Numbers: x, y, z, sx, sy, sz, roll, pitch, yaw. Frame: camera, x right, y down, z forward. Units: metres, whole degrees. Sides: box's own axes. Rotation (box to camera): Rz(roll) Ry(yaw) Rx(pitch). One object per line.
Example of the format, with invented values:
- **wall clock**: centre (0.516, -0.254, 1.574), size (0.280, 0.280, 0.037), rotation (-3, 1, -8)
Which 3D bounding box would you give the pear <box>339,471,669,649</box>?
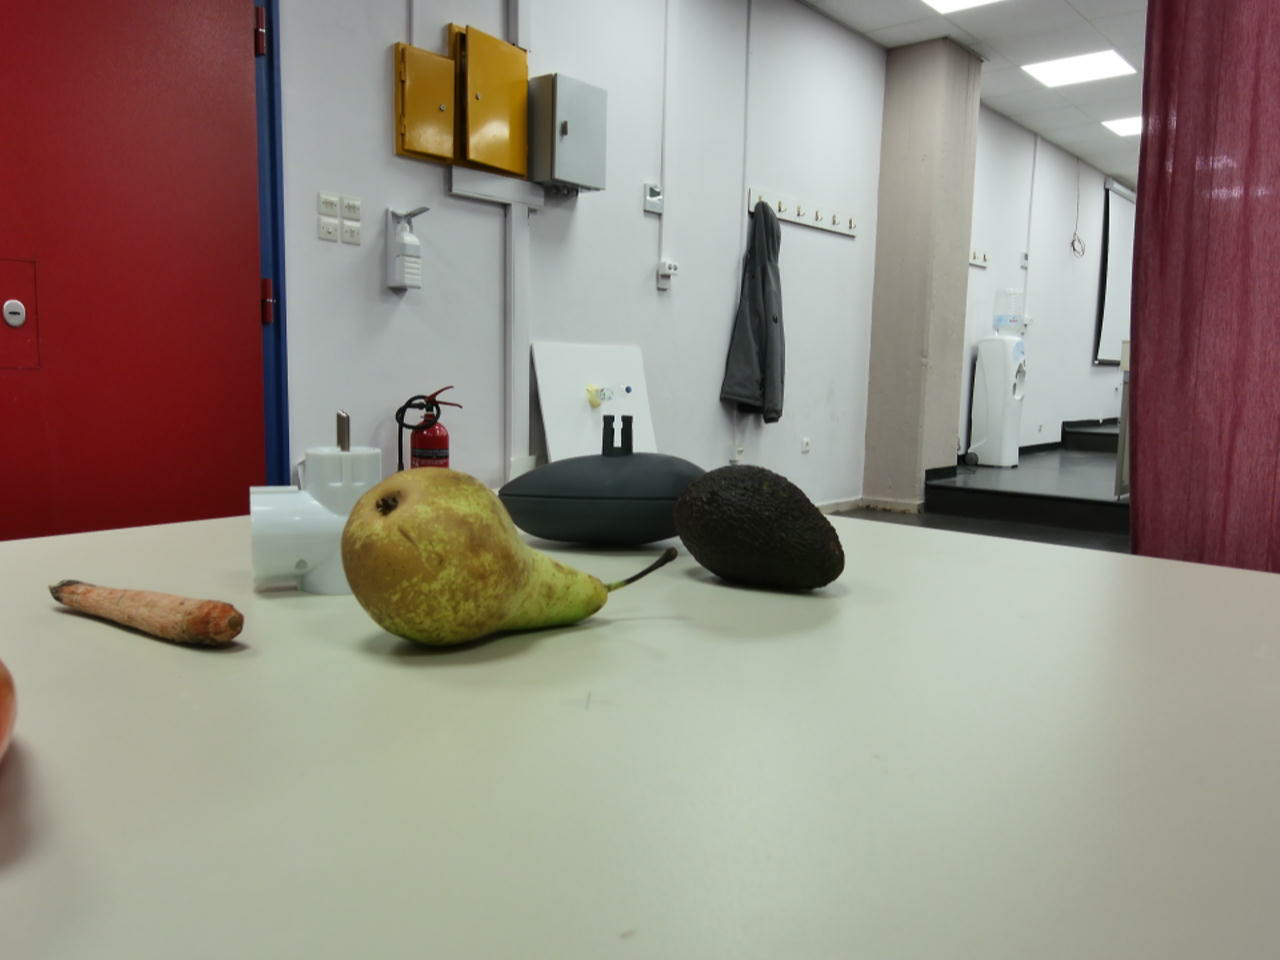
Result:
- **pear**: centre (-0.061, 0.032, 0.444), size (0.144, 0.075, 0.072), rotation (-4, 6, -42)
